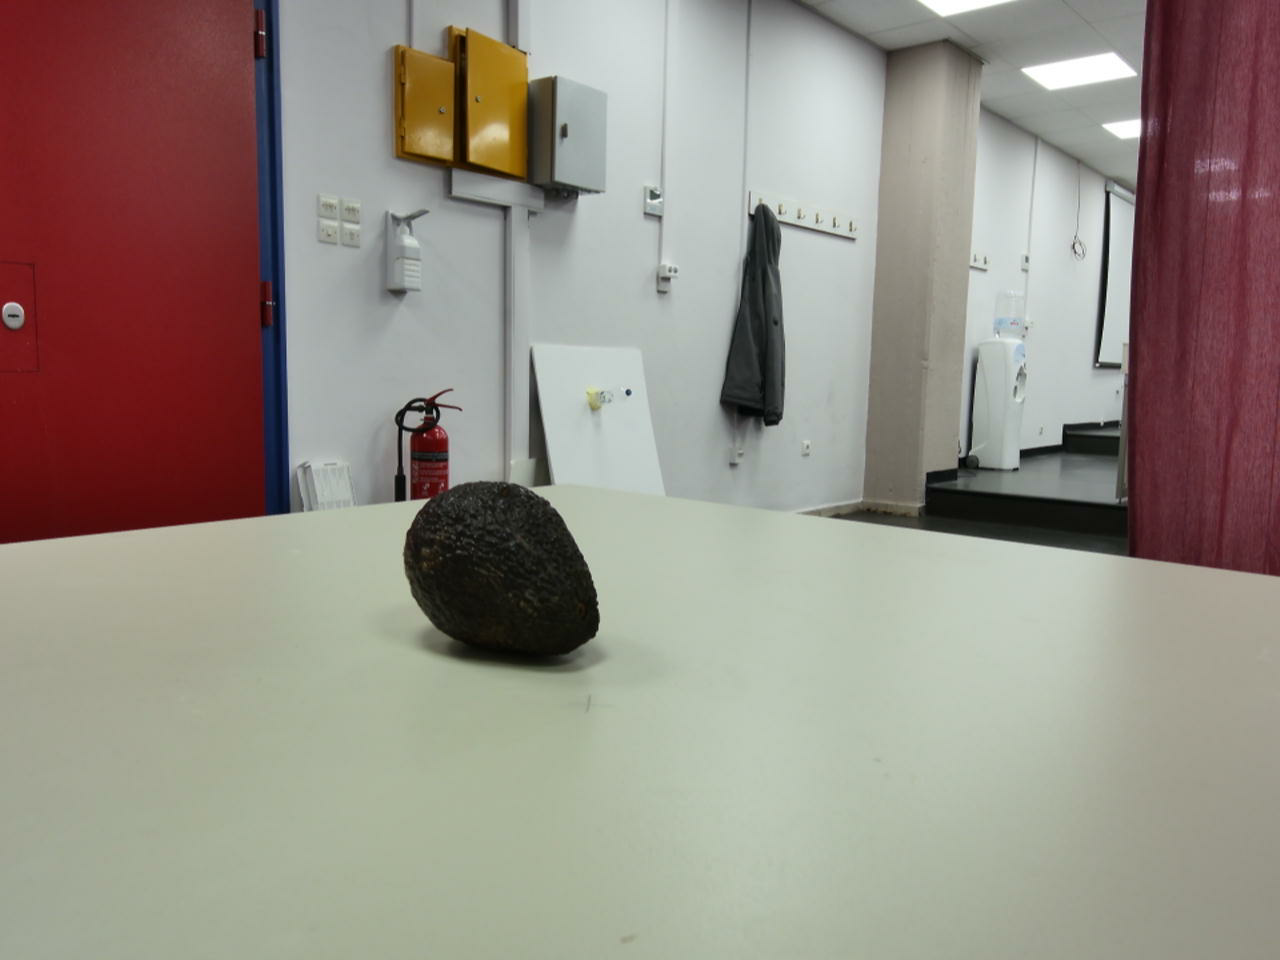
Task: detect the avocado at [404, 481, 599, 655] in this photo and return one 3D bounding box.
[{"bbox_3d":[-0.060,0.036,0.416,0.070,0.069,0.090,-1,4,-25],"label":"avocado"}]
